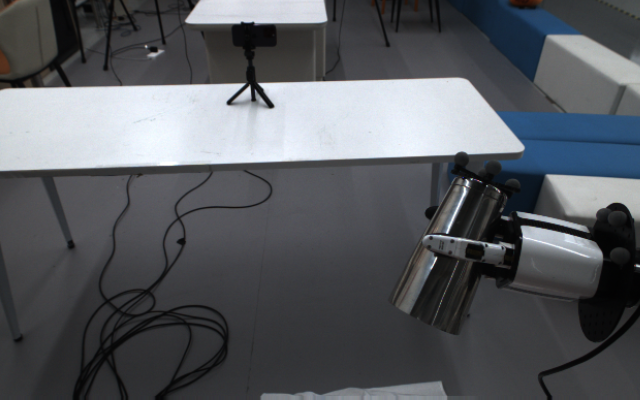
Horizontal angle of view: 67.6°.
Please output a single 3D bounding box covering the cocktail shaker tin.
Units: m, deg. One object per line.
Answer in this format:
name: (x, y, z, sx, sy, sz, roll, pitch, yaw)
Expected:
cocktail shaker tin: (0.161, 0.059, 0.579, 0.093, 0.170, 0.093, 23, -1, 0)
